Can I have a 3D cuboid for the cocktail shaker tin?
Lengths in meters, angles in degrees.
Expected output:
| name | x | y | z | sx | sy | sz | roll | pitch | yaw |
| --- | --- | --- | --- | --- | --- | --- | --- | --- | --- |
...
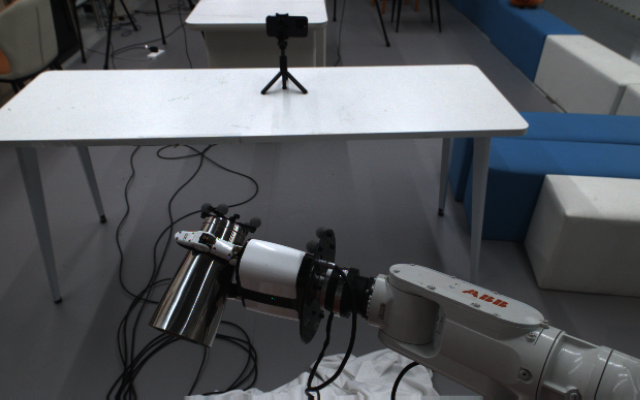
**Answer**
| name | x | y | z | sx | sy | sz | roll | pitch | yaw |
| --- | --- | --- | --- | --- | --- | --- | --- | --- | --- |
| cocktail shaker tin | -0.164 | 0.111 | 0.692 | 0.093 | 0.093 | 0.170 | 13 | 66 | 15 |
